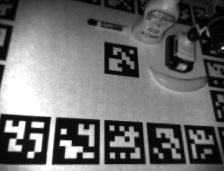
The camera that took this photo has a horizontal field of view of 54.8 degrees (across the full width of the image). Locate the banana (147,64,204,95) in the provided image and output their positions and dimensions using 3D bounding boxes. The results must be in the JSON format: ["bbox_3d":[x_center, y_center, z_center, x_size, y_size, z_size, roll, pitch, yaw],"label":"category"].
[{"bbox_3d":[0.194,-0.010,0.655,0.198,0.038,0.074,14,68,-11],"label":"banana"}]

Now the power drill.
[{"bbox_3d":[0.232,-0.123,0.603,0.058,0.186,0.184,20,63,-11],"label":"power drill"}]

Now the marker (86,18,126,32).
[{"bbox_3d":[-0.017,-0.184,0.656,0.122,0.019,0.019,9,69,-15],"label":"marker"}]

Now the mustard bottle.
[{"bbox_3d":[0.128,-0.190,0.611,0.097,0.190,0.058,17,66,-12],"label":"mustard bottle"}]
